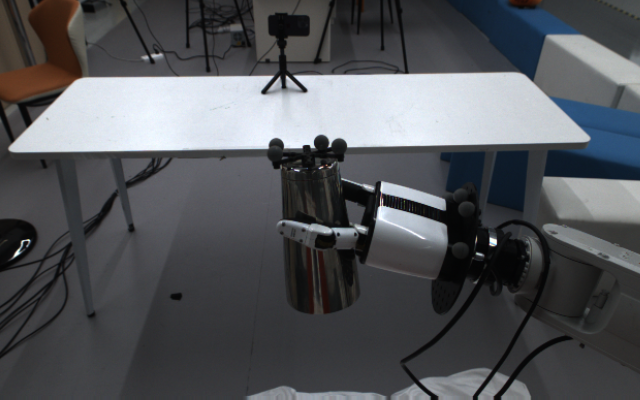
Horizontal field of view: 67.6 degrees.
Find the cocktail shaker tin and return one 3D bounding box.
[{"bbox_3d":[-0.003,0.037,0.573,0.093,0.170,0.093,-6,20,2],"label":"cocktail shaker tin"}]
